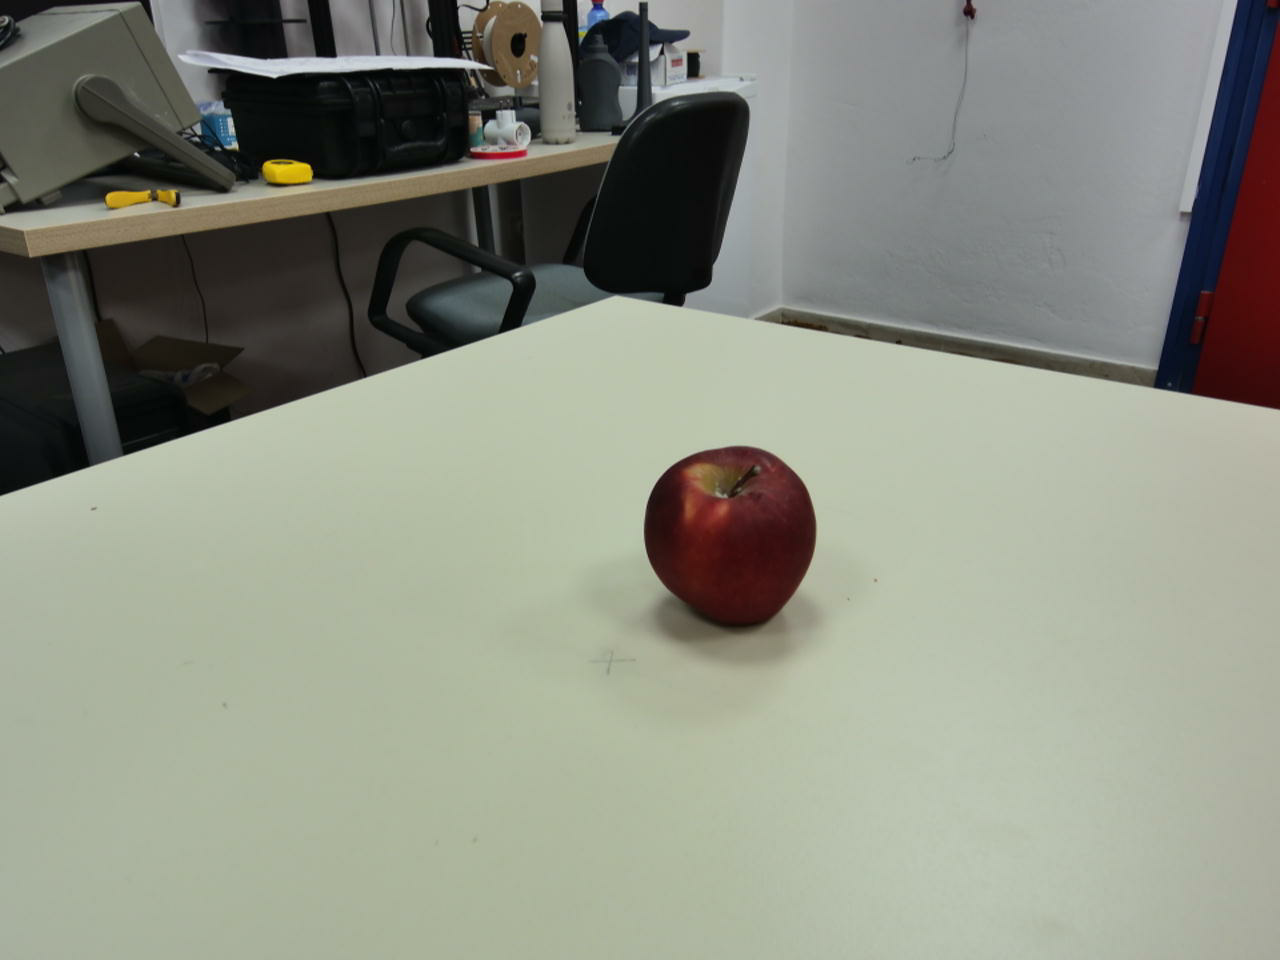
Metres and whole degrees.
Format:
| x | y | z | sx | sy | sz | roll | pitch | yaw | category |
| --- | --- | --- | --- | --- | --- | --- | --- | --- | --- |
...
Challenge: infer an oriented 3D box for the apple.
| x | y | z | sx | sy | sz | roll | pitch | yaw | category |
| --- | --- | --- | --- | --- | --- | --- | --- | --- | --- |
| 0.037 | 0.022 | 0.402 | 0.070 | 0.072 | 0.070 | 1 | 23 | 0 | apple |
